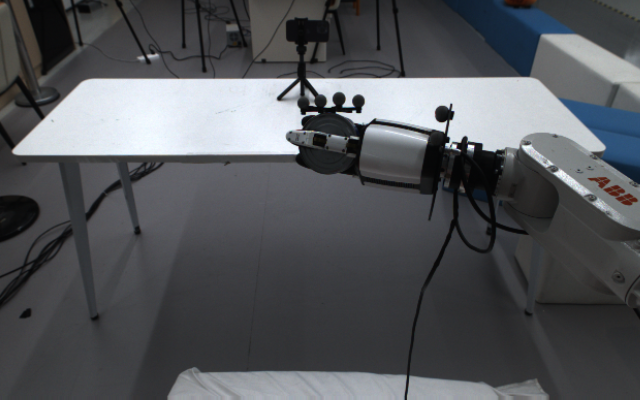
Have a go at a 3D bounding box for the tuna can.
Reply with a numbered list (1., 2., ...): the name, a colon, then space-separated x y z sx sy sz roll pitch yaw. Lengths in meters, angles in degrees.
1. tuna can: 0.015 -0.079 0.685 0.085 0.085 0.034 12 7 14
